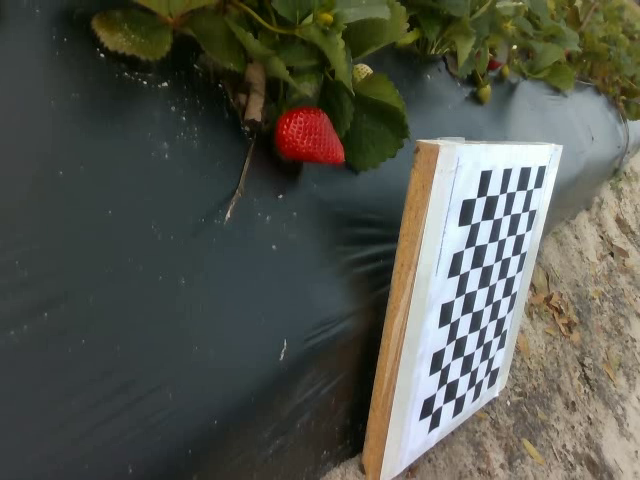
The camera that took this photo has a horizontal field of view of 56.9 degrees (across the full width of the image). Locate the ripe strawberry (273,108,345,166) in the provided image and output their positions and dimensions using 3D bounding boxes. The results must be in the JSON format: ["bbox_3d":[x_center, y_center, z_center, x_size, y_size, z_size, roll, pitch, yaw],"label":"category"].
[{"bbox_3d":[-0.003,-0.054,0.307,0.046,0.037,0.036,40,-18,2],"label":"ripe strawberry"}]
